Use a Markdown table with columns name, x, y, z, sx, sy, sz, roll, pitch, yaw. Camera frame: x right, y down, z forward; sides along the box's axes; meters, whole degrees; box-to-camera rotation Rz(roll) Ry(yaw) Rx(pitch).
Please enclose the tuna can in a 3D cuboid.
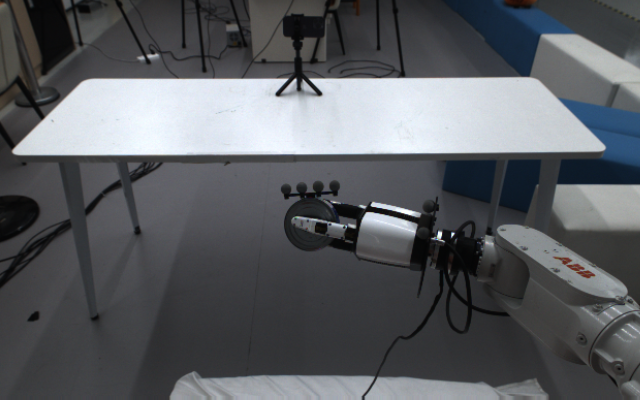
| name | x | y | z | sx | sy | sz | roll | pitch | yaw |
| --- | --- | --- | --- | --- | --- | --- | --- | --- | --- |
| tuna can | -0.010 | 0.043 | 0.772 | 0.085 | 0.085 | 0.034 | 10 | 2 | 11 |
